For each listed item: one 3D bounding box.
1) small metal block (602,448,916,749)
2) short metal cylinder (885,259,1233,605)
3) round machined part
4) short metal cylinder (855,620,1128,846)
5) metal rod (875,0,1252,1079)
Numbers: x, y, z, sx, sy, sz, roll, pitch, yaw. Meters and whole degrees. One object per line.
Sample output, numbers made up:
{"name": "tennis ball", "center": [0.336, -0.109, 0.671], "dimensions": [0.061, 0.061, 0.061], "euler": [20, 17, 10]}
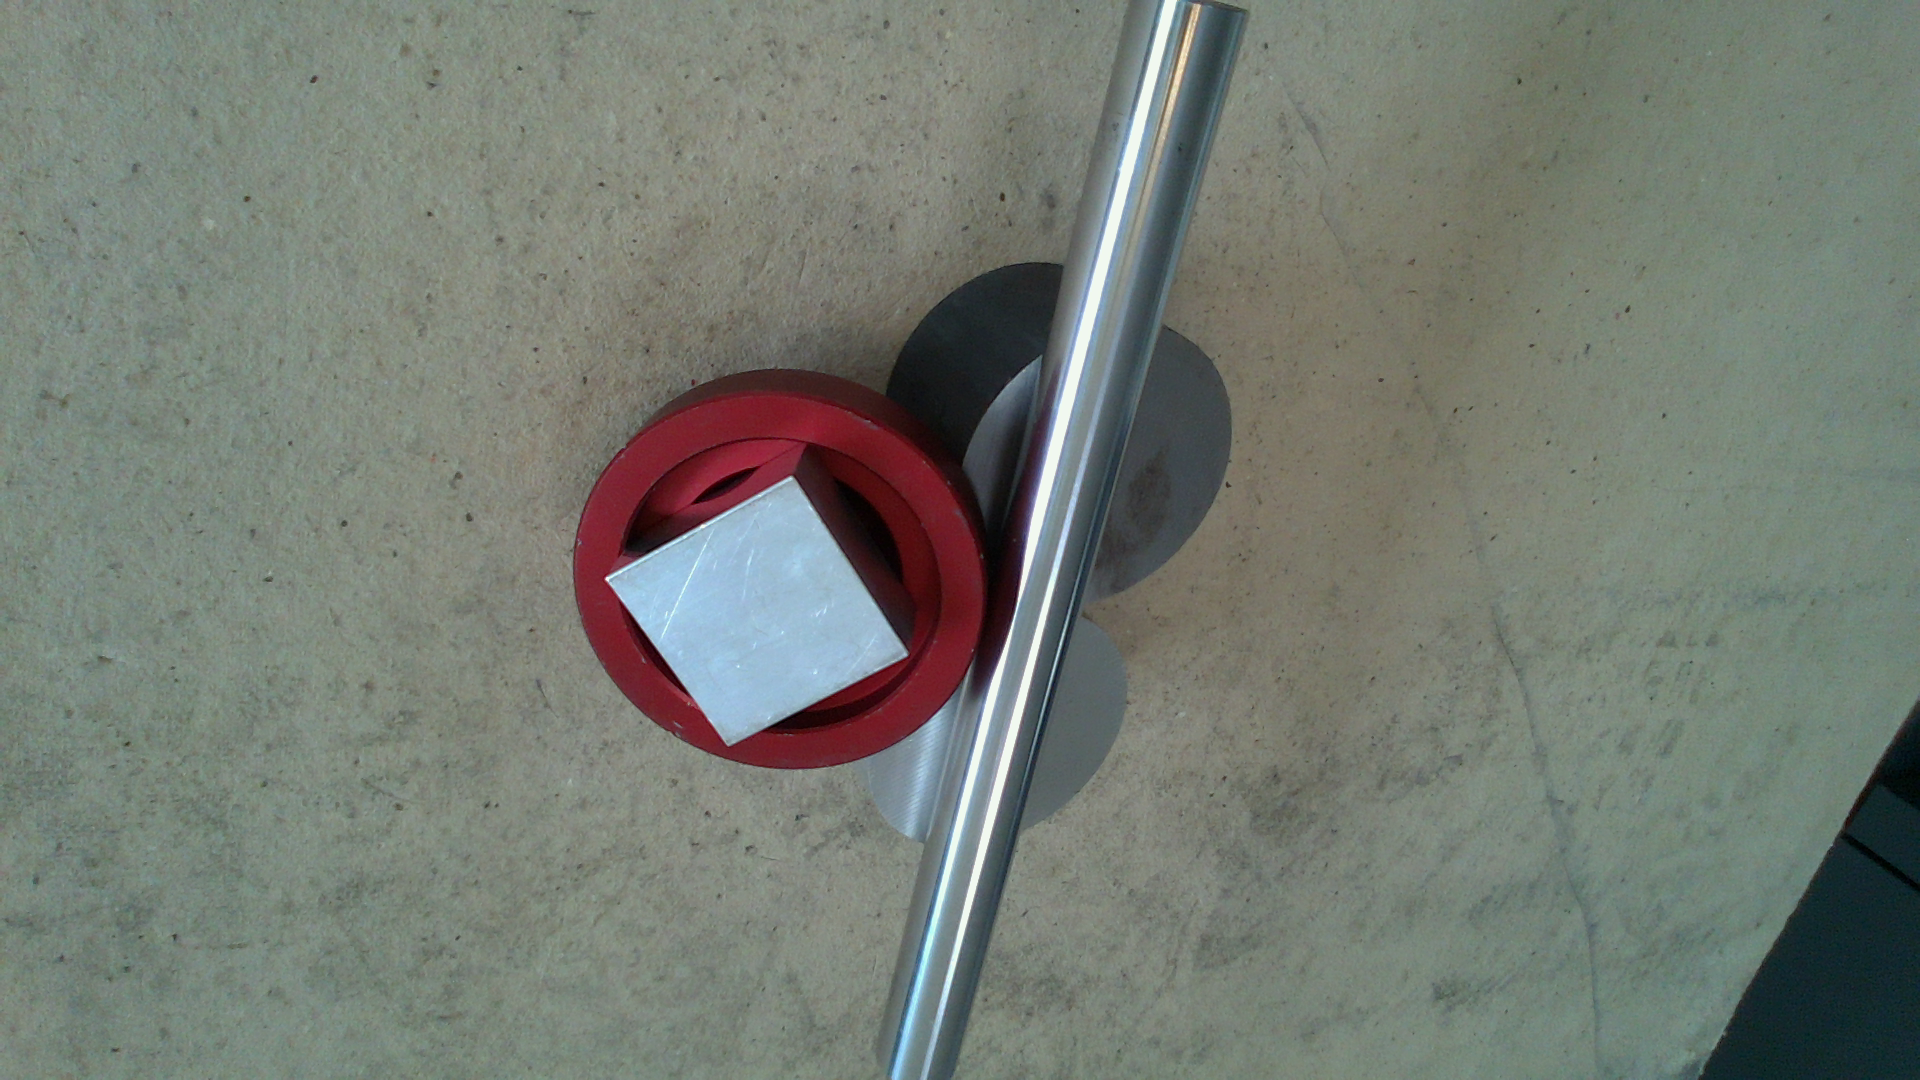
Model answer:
{"name": "small metal block", "center": [-0.045, 0.013, 0.320], "dimensions": [0.050, 0.025, 0.050], "euler": [-27, 108, 13]}
{"name": "short metal cylinder", "center": [0.025, -0.029, 0.370], "dimensions": [0.080, 0.050, 0.080], "euler": [-14, 124, -21]}
{"name": "round machined part", "center": [-0.042, 0.004, 0.342], "dimensions": [0.098, 0.042, 0.098], "euler": [1, 112, 3]}
{"name": "short metal cylinder", "center": [0.001, 0.043, 0.399], "dimensions": [0.080, 0.050, 0.080], "euler": [-13, 123, -21]}
{"name": "metal rod", "center": [0.017, 0.021, 0.347], "dimensions": [0.025, 0.025, 0.300], "euler": [-1, 119, -28]}
